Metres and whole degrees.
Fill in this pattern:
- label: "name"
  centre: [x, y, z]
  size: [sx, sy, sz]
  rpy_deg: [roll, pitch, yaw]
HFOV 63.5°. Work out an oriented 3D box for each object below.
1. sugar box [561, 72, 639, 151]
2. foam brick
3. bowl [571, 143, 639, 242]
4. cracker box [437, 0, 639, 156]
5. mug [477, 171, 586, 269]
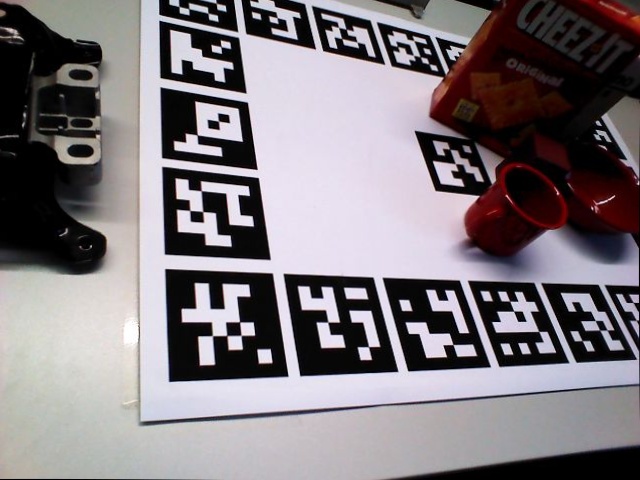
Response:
- label: "sugar box"
  centre: [0.376, -0.207, 0.736]
  size: [0.093, 0.178, 0.045]
  rpy_deg: [22, 52, -11]
- label: "foam brick"
  centre: [0.287, -0.087, 0.685]
  size: [0.053, 0.078, 0.051]
  rpy_deg: [17, 52, -14]
- label: "bowl"
  centre: [0.405, -0.055, 0.715]
  size: [0.161, 0.055, 0.160]
  rpy_deg: [12, 55, -18]
- label: "cracker box"
  centre: [0.283, -0.212, 0.673]
  size: [0.164, 0.215, 0.071]
  rpy_deg: [29, 49, -6]
- label: "mug"
  centre: [0.231, -0.019, 0.598]
  size: [0.117, 0.082, 0.093]
  rpy_deg: [-6, 53, -26]
